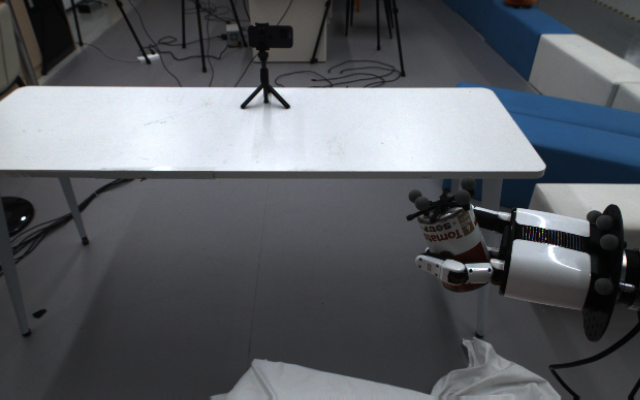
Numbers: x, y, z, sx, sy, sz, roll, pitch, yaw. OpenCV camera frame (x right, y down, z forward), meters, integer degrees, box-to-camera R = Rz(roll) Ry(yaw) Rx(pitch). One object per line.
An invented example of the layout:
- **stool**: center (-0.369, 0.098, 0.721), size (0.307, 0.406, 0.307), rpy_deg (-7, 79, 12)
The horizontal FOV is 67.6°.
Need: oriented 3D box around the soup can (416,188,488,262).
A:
- **soup can**: center (0.172, 0.053, 0.604), size (0.067, 0.101, 0.067), rpy_deg (-23, 16, 7)
